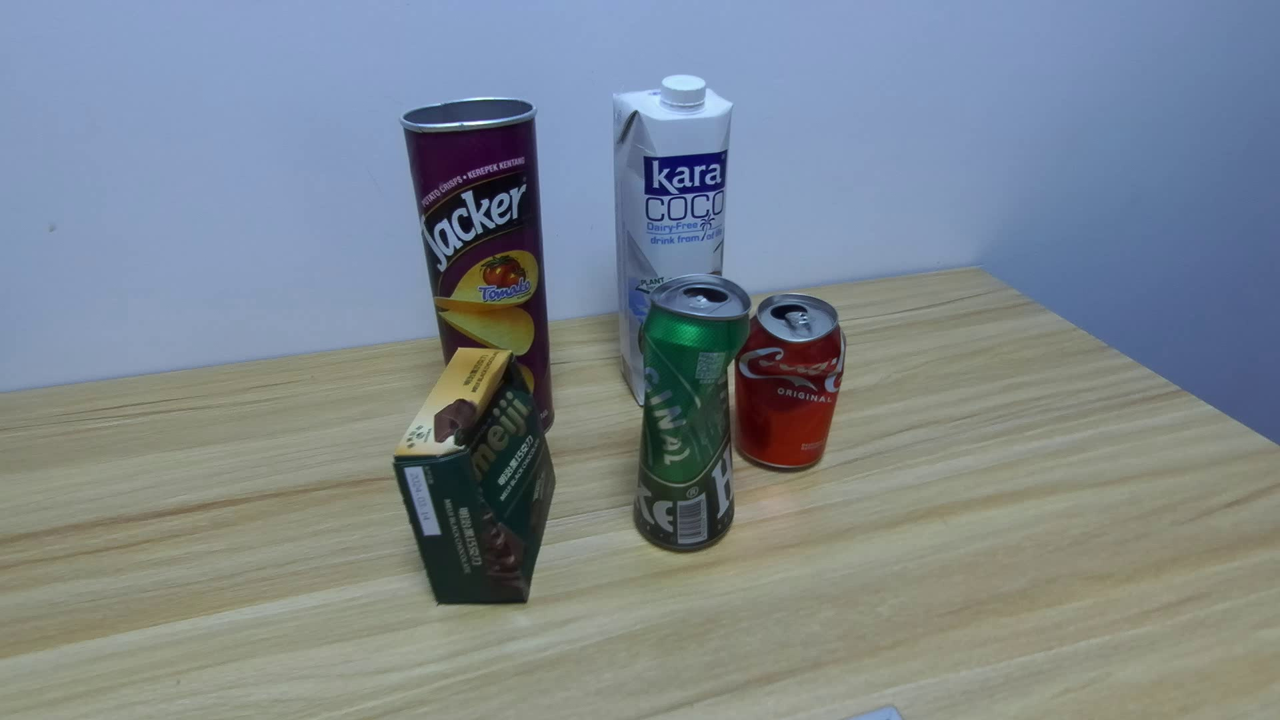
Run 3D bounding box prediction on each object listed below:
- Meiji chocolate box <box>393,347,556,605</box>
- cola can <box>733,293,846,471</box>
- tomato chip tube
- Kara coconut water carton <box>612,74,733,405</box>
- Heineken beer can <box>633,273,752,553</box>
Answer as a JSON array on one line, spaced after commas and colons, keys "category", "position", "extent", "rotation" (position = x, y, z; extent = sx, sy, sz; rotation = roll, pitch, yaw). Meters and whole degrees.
[{"category": "Meiji chocolate box", "position": [-0.092, 0.068, 0.422], "extent": [0.058, 0.111, 0.113], "rotation": [-4, 31, 4]}, {"category": "cola can", "position": [0.105, 0.016, 0.494], "extent": [0.072, 0.117, 0.065], "rotation": [15, 34, 19]}, {"category": "tomato chip tube", "position": [-0.104, -0.053, 0.495], "extent": [0.080, 0.234, 0.076], "rotation": [0, 31, -1]}, {"category": "Kara coconut water carton", "position": [0.022, -0.084, 0.533], "extent": [0.077, 0.245, 0.075], "rotation": [-8, 30, -13]}, {"category": "Heineken beer can", "position": [0.028, 0.036, 0.417], "extent": [0.078, 0.164, 0.065], "rotation": [-15, 35, -27]}]
